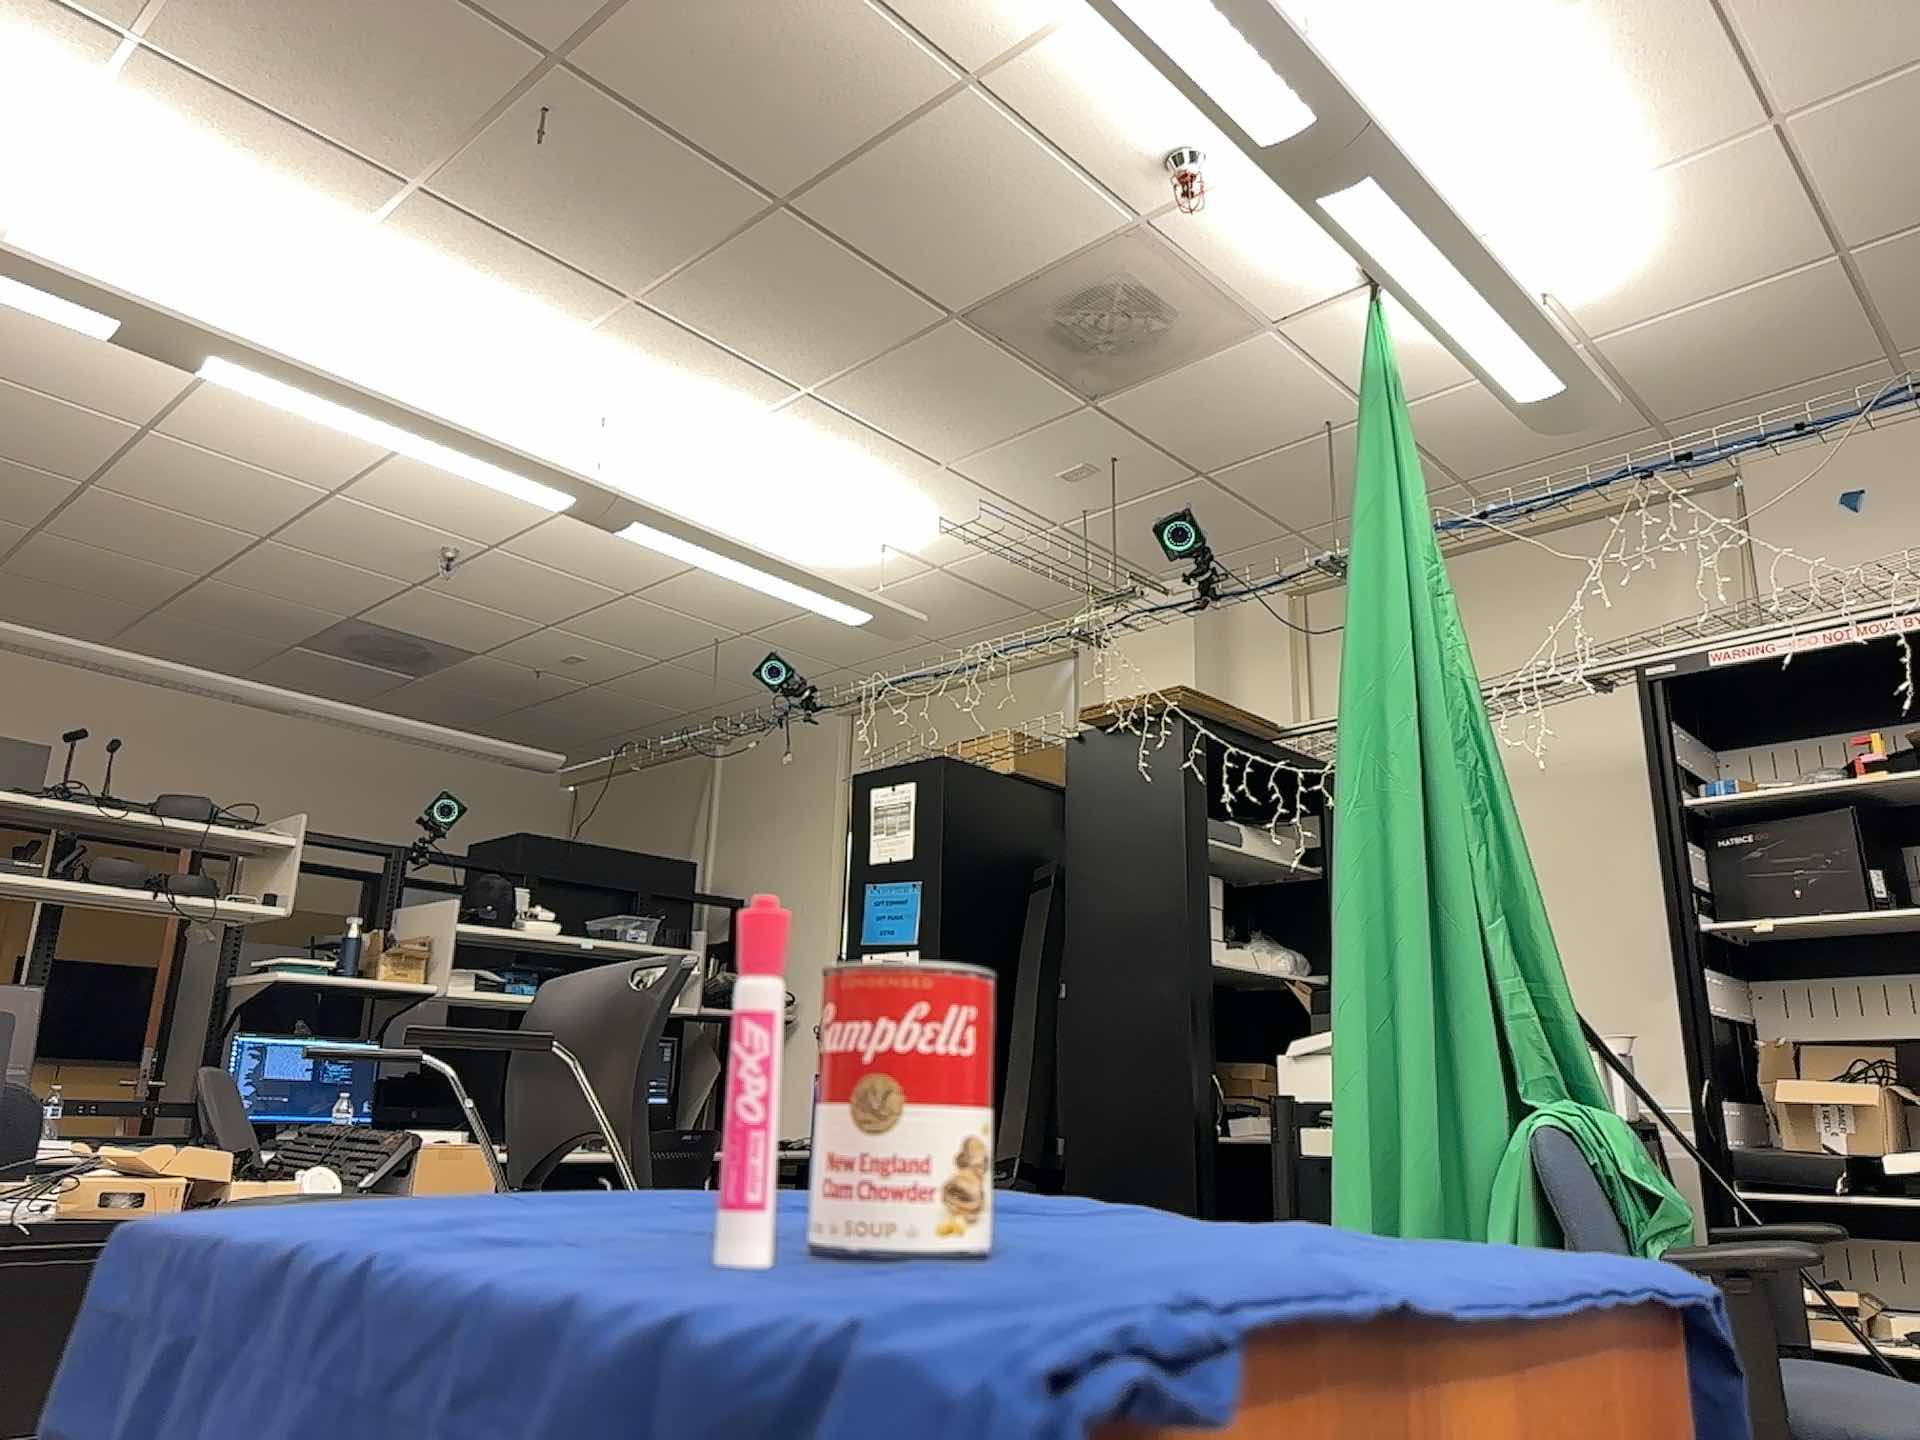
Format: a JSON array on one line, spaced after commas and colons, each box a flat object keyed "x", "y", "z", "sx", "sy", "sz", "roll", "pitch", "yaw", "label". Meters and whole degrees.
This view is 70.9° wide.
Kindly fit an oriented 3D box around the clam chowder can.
[{"x": -0.021, "y": 0.144, "z": 0.505, "sx": 0.068, "sy": 0.102, "sz": 0.068, "roll": 1, "pitch": -14, "yaw": 0, "label": "clam chowder can"}]

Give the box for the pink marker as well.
[{"x": -0.070, "y": 0.121, "z": 0.461, "sx": 0.020, "sy": 0.121, "sz": 0.020, "roll": 1, "pitch": -14, "yaw": 0, "label": "pink marker"}]
